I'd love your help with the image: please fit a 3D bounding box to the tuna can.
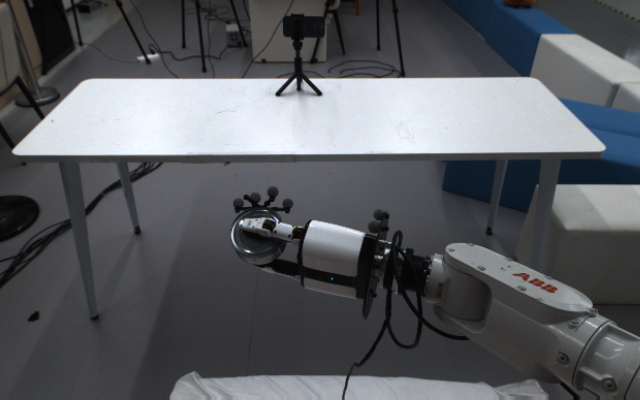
[{"bbox_3d":[-0.088,0.056,0.743,0.085,0.034,0.085,-2,58,3],"label":"tuna can"}]
